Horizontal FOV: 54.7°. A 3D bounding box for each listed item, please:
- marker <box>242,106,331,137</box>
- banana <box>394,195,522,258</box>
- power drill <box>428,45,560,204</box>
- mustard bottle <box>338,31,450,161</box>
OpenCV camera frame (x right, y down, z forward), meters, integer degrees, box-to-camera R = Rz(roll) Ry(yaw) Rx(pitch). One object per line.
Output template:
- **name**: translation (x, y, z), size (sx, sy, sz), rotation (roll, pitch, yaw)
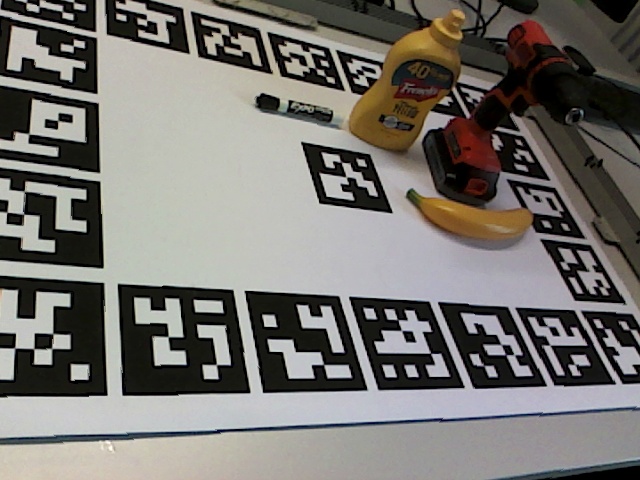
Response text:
- **marker**: translation (-0.043, -0.155, 0.805), size (0.120, 0.020, 0.020), rotation (7, 51, -26)
- **banana**: translation (0.190, -0.010, 0.810), size (0.196, 0.039, 0.074), rotation (11, 50, -21)
- **power drill**: translation (0.220, -0.136, 0.798), size (0.057, 0.187, 0.185), rotation (18, 44, -20)
- **mustard bottle**: translation (0.106, -0.187, 0.798), size (0.096, 0.192, 0.058), rotation (15, 47, -21)
